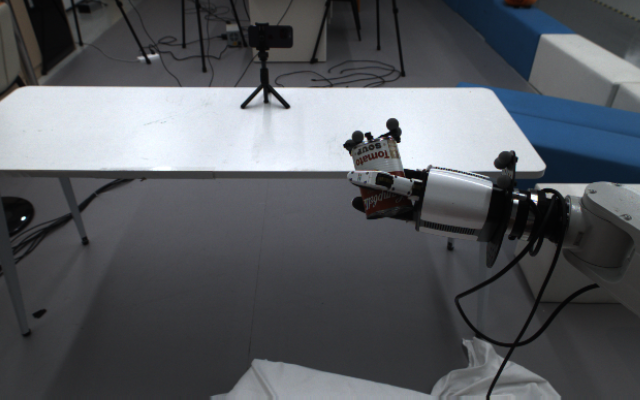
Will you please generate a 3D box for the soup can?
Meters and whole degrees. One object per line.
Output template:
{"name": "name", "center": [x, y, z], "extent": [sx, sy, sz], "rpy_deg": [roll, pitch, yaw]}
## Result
{"name": "soup can", "center": [0.088, -0.030, 0.683], "extent": [0.067, 0.067, 0.101], "rpy_deg": [-10, 79, -16]}
